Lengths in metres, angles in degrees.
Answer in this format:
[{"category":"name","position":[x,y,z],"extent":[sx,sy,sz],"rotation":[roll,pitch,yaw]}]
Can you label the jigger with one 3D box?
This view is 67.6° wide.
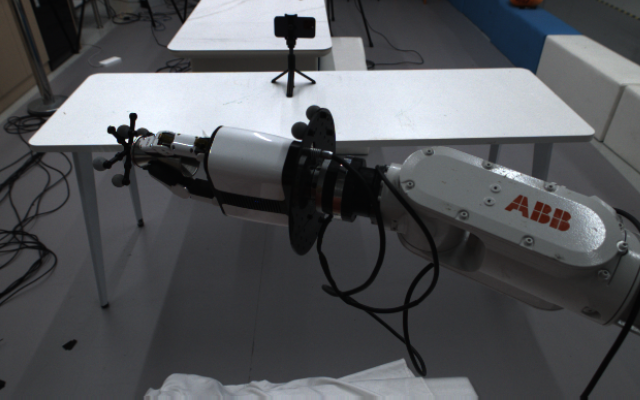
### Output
[{"category":"jigger","position":[-0.180,-0.057,0.572],"extent":[0.071,0.043,0.043],"rotation":[10,35,16]}]
